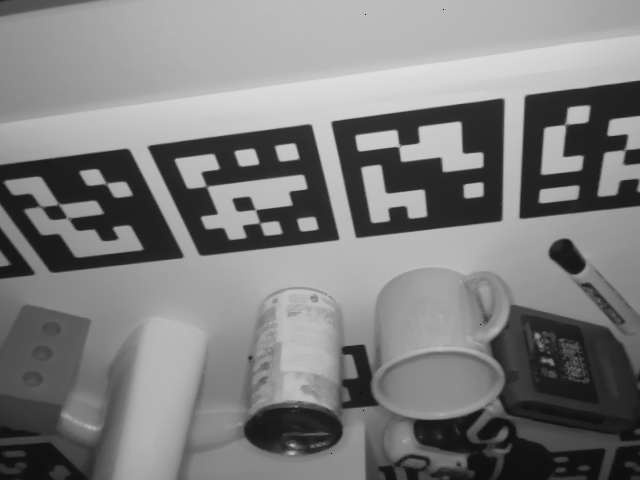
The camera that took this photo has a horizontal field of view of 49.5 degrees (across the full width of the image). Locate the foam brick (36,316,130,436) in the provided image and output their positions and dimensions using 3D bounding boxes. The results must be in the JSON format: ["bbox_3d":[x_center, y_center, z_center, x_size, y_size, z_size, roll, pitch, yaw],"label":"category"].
[{"bbox_3d":[-0.192,0.111,0.566,0.053,0.079,0.050,14,133,-13],"label":"foam brick"}]

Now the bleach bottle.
[{"bbox_3d":[-0.107,0.190,0.515,0.068,0.253,0.101,12,133,-8],"label":"bleach bottle"}]

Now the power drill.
[{"bbox_3d":[0.197,0.152,0.611,0.185,0.058,0.184,13,133,-6],"label":"power drill"}]

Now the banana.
[{"bbox_3d":[-0.108,0.199,0.665,0.197,0.039,0.073,3,119,2],"label":"banana"}]

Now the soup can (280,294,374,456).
[{"bbox_3d":[0.008,0.100,0.523,0.068,0.103,0.067,1,137,2],"label":"soup can"}]

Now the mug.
[{"bbox_3d":[0.111,0.068,0.512,0.094,0.082,0.115,24,126,-16],"label":"mug"}]

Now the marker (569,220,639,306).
[{"bbox_3d":[0.223,0.023,0.515,0.122,0.020,0.019,37,121,-27],"label":"marker"}]

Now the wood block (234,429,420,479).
[{"bbox_3d":[-0.007,0.263,0.691,0.205,0.092,0.089,-11,130,12],"label":"wood block"}]
